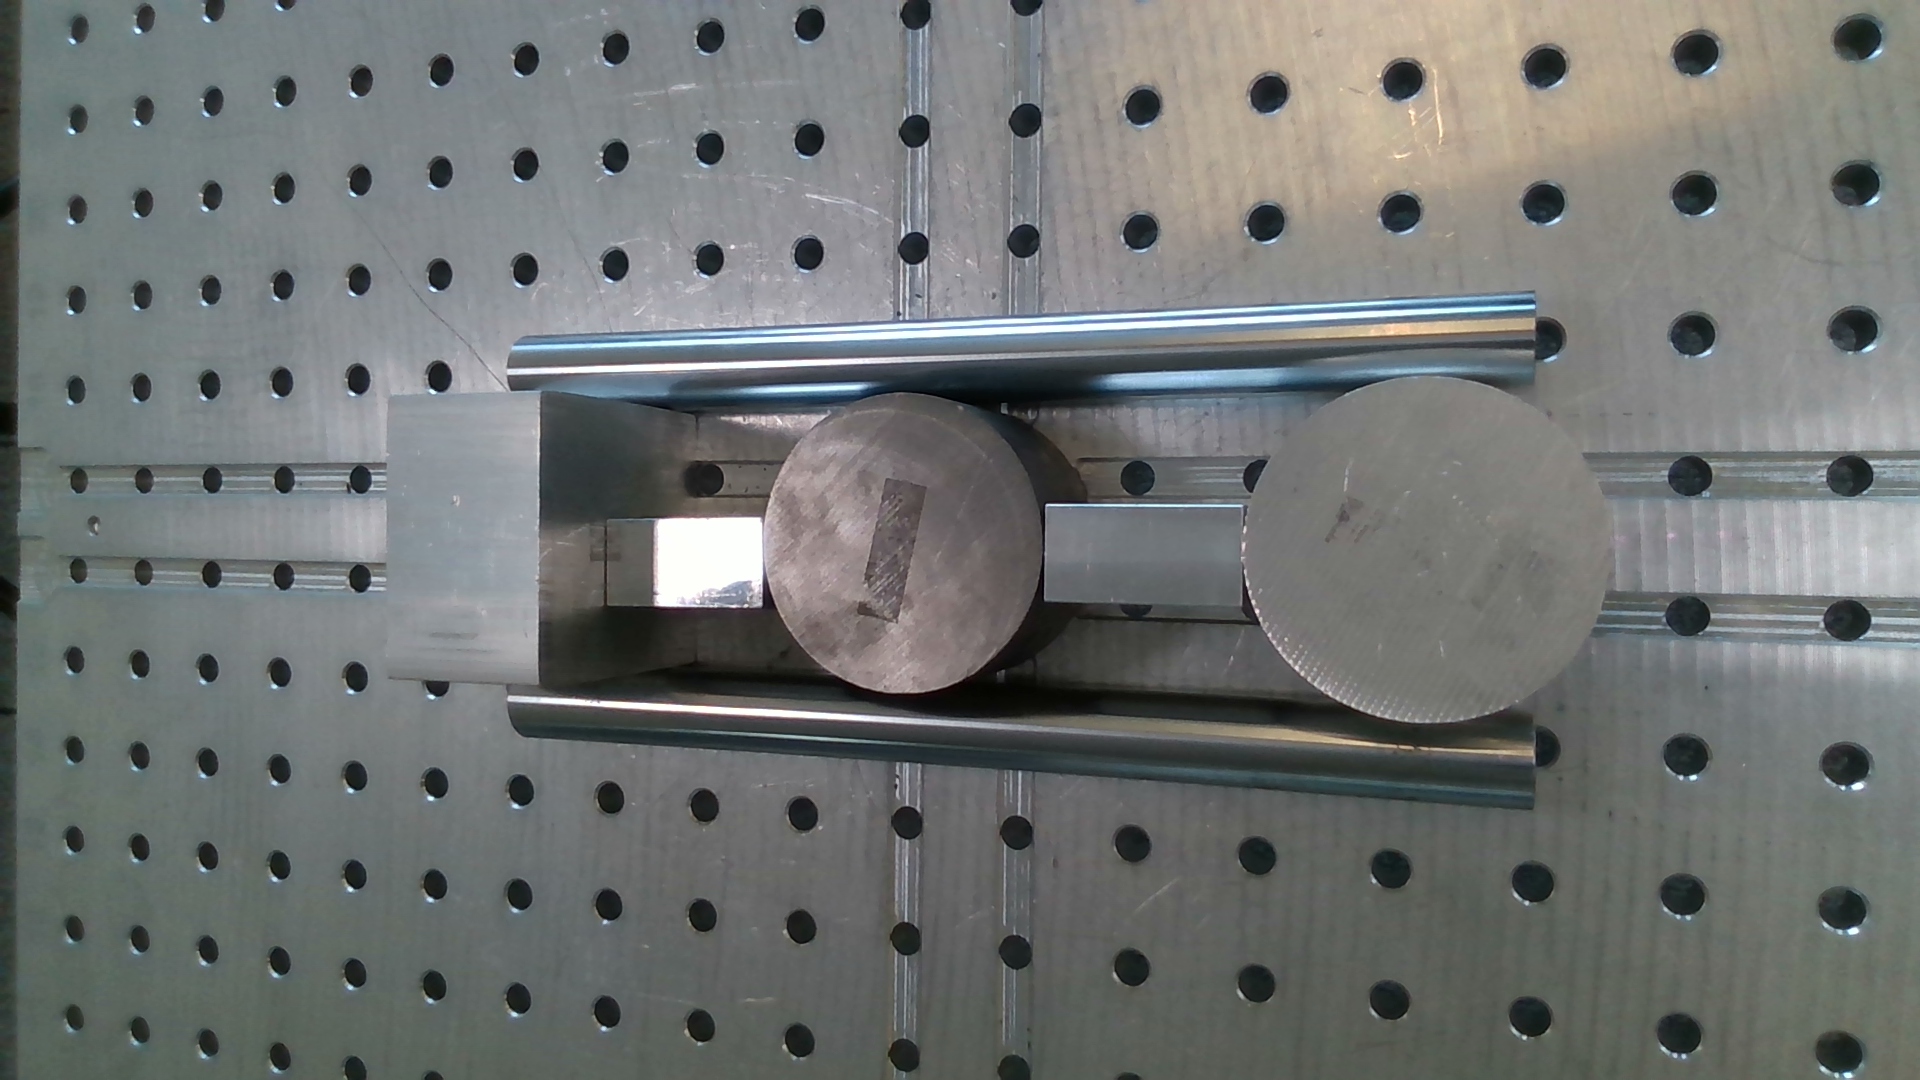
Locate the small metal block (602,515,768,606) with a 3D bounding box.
[{"bbox_3d":[-0.070,0.006,0.408,0.050,0.050,0.025,0,90,20],"label":"small metal block"}]

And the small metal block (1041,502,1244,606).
[{"bbox_3d":[0.053,0.003,0.363,0.050,0.050,0.025,1,90,20],"label":"small metal block"}]

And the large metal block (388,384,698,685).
[{"bbox_3d":[-0.122,-0.002,0.412,0.050,0.080,0.080,1,90,20],"label":"large metal block"}]

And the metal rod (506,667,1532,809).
[{"bbox_3d":[0.001,0.053,0.395,0.300,0.025,0.025,1,90,20],"label":"metal rod"}]

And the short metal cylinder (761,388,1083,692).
[{"bbox_3d":[-0.008,0.000,0.386,0.080,0.050,0.080,0,90,20],"label":"short metal cylinder"}]

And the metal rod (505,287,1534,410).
[{"bbox_3d":[0.002,-0.052,0.395,0.300,0.025,0.025,1,90,20],"label":"metal rod"}]

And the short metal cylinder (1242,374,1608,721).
[{"bbox_3d":[0.114,0.002,0.341,0.080,0.050,0.080,0,90,20],"label":"short metal cylinder"}]
